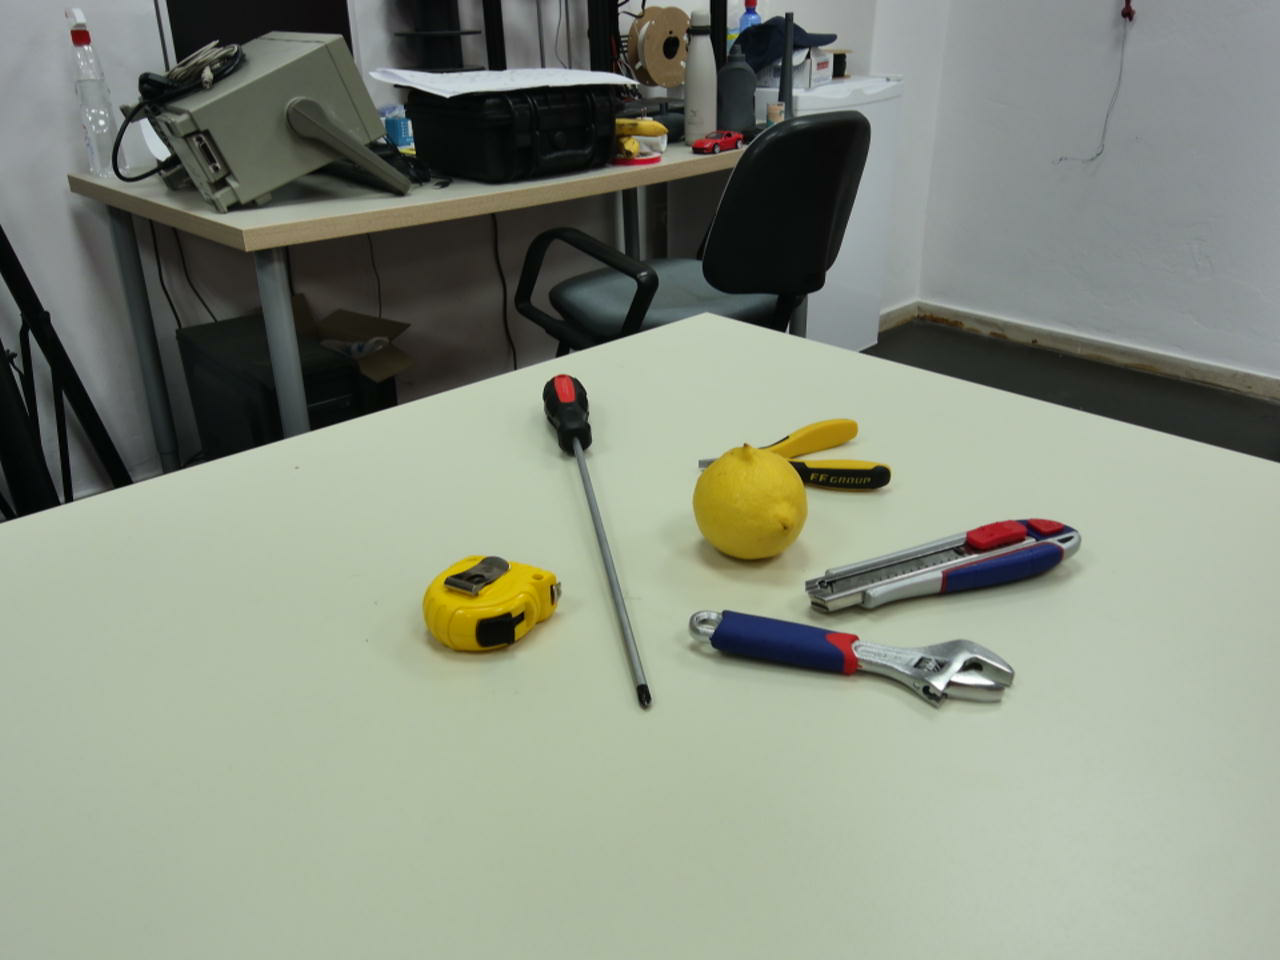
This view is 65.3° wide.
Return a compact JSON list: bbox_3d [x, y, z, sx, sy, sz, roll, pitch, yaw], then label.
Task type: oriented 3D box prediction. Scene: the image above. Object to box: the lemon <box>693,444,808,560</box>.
[{"bbox_3d":[0.067,0.011,0.609,0.070,0.071,0.071,5,25,12],"label":"lemon"}]
